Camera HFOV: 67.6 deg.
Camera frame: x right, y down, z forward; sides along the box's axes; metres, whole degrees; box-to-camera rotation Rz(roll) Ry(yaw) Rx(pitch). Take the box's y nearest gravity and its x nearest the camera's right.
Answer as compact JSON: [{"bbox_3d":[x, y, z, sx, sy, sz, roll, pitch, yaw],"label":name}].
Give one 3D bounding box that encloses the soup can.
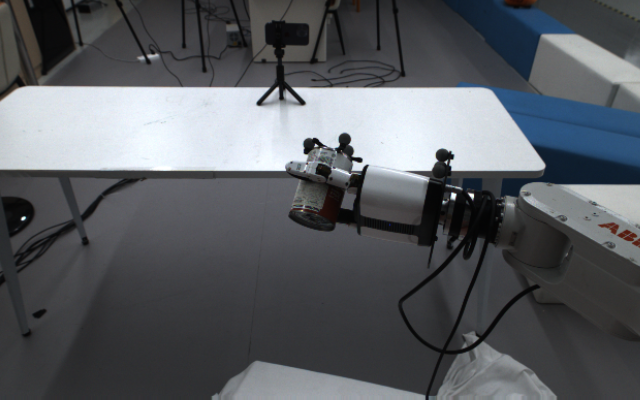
[{"bbox_3d":[0.001,-0.017,0.681,0.067,0.067,0.101,12,71,14],"label":"soup can"}]
